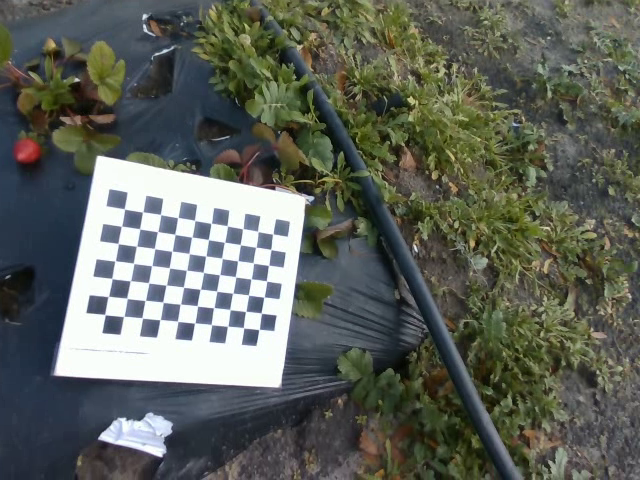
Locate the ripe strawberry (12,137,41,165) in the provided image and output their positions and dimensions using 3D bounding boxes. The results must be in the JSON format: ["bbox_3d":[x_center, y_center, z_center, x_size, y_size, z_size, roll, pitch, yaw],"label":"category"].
[{"bbox_3d":[-0.392,-0.112,0.770,0.044,0.041,0.052,38,24,-26],"label":"ripe strawberry"}]
